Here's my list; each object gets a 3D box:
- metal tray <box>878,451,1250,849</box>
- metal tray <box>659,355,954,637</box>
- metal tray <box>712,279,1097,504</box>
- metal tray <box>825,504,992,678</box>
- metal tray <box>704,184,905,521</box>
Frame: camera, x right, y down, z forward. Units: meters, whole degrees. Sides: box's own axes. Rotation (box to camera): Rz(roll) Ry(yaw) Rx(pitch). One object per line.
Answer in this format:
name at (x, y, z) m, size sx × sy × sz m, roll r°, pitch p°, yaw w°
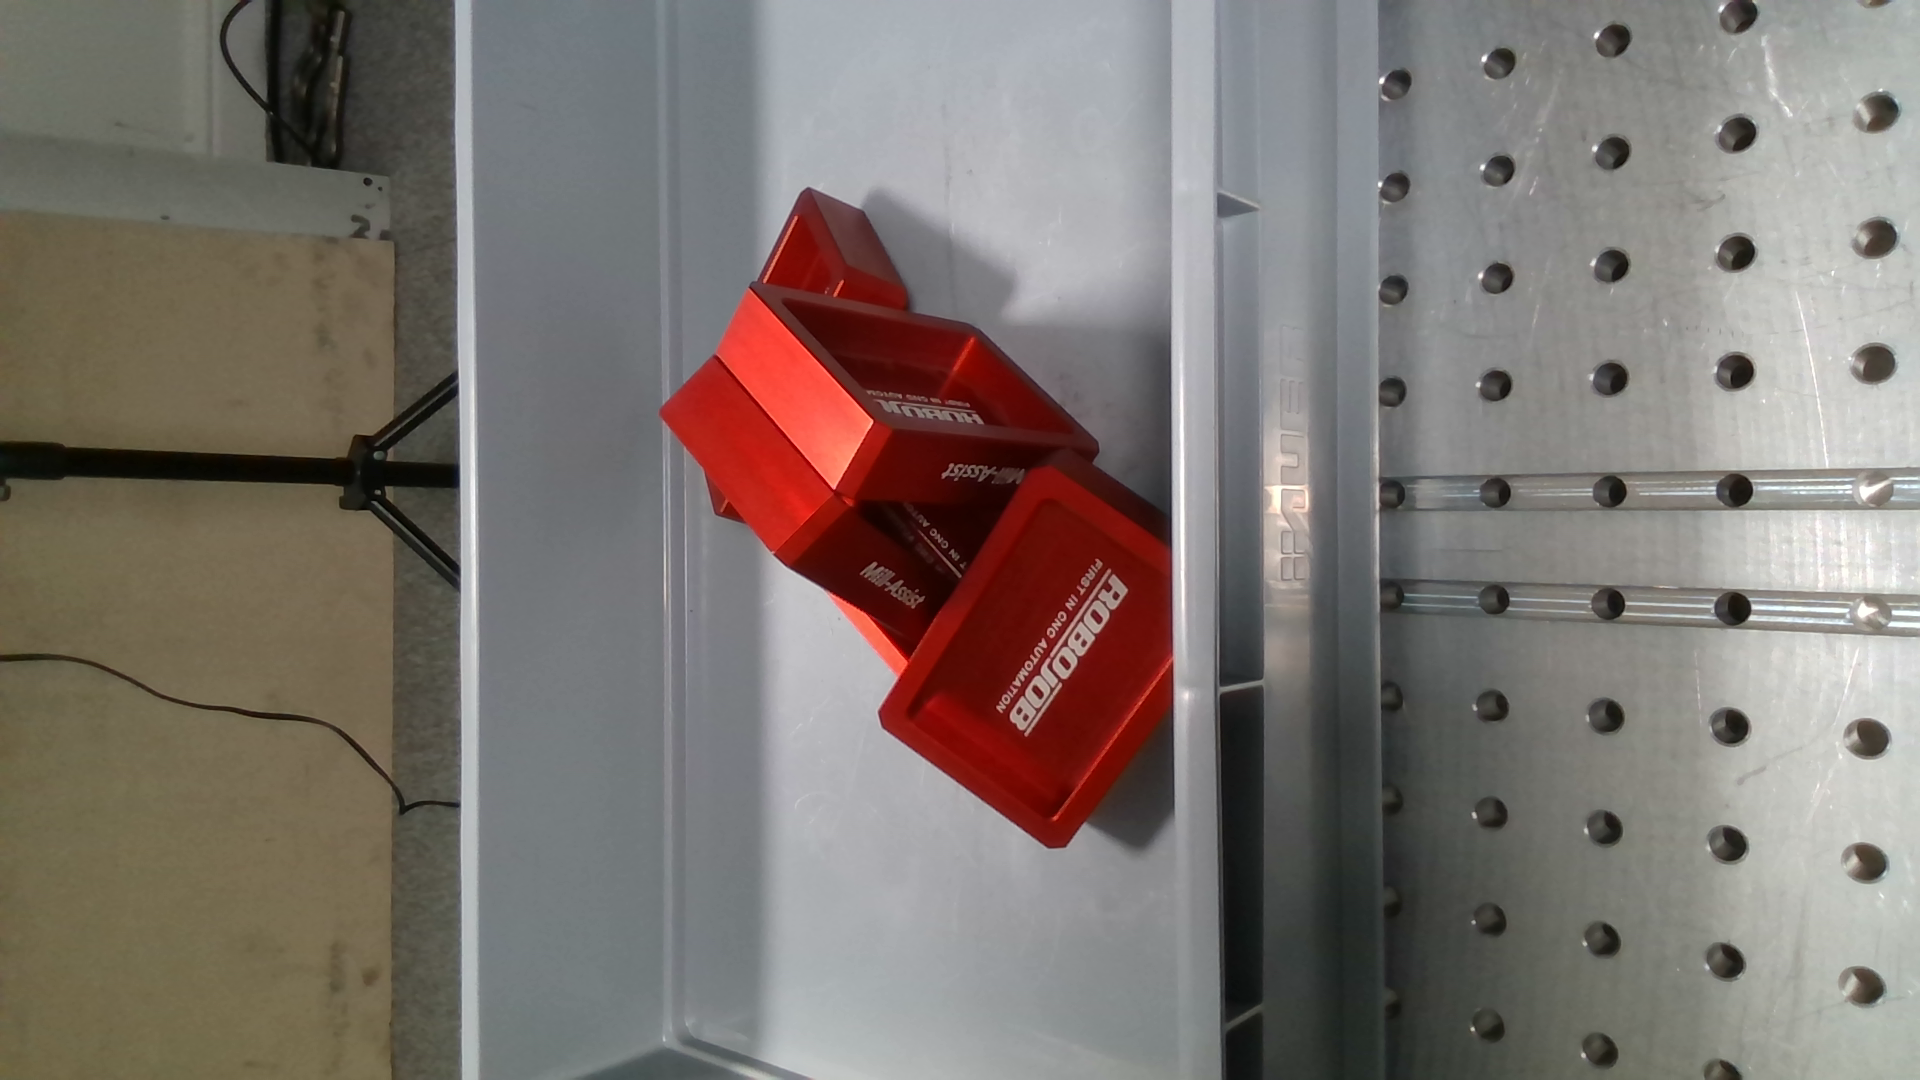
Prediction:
metal tray at (0.038, 0.043, 0.523) m, size 0.090 × 0.030 × 0.130 m, roll 35°, pitch 114°, yaw 7°
metal tray at (-0.051, -0.012, 0.538) m, size 0.030 × 0.130 × 0.090 m, roll -45°, pitch 61°, yaw 4°
metal tray at (-0.018, -0.053, 0.525) m, size 0.090 × 0.130 × 0.030 m, roll 48°, pitch 118°, yaw 30°
metal tray at (-0.019, 0.000, 0.592) m, size 0.130 × 0.030 × 0.090 m, roll 46°, pitch 118°, yaw 30°
metal tray at (-0.077, -0.082, 0.618) m, size 0.130 × 0.030 × 0.090 m, roll -58°, pitch 33°, yaw 25°
